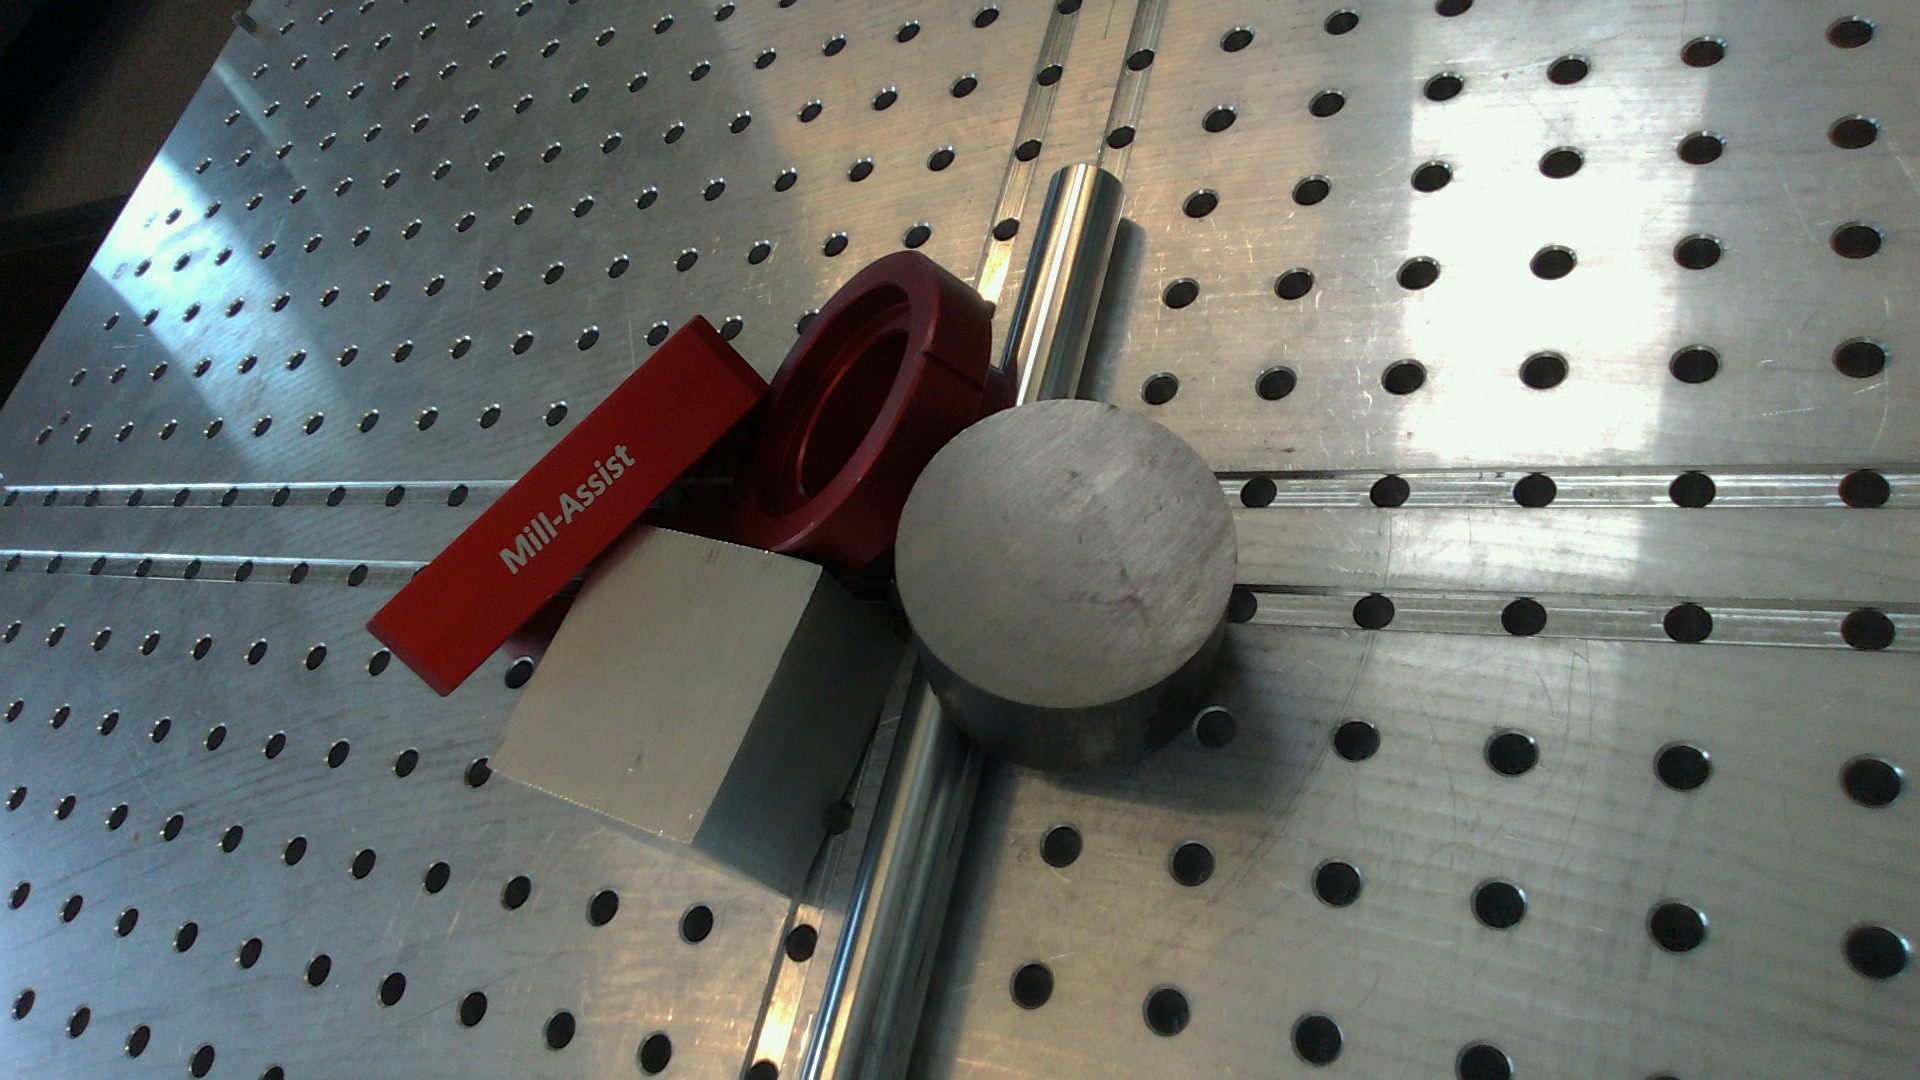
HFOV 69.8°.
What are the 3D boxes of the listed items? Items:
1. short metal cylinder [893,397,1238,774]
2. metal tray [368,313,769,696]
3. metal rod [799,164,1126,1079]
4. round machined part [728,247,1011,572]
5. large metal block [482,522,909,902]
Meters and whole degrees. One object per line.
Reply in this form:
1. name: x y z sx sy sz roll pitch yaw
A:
1. short metal cylinder: 0.026 0.012 0.342 0.080 0.050 0.080 -2 63 5
2. metal tray: -0.119 -0.015 0.435 0.130 0.030 0.090 -44 12 -2
3. metal rod: 0.005 0.019 0.383 0.025 0.025 0.300 1 62 29
4. round machined part: -0.023 -0.032 0.401 0.098 0.042 0.098 -38 35 34
5. large metal block: -0.074 0.046 0.392 0.080 0.050 0.080 11 67 33
